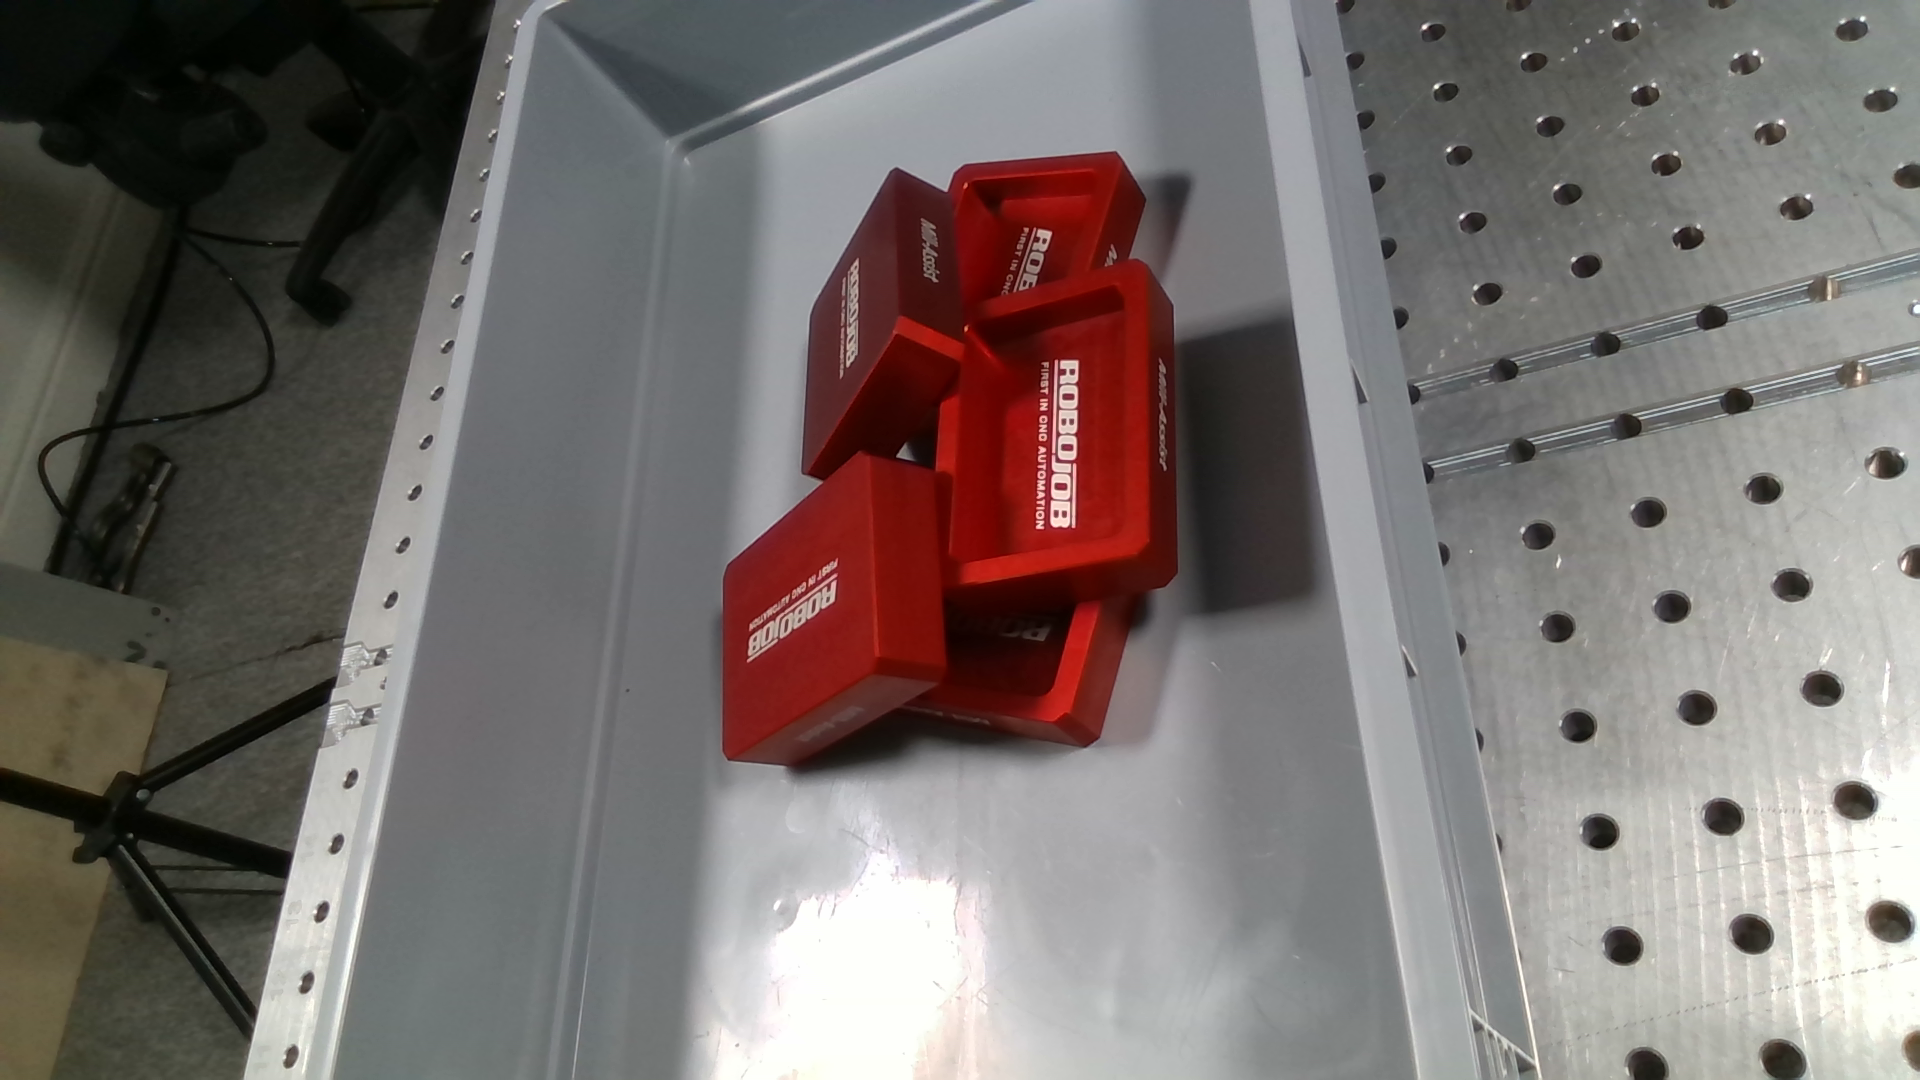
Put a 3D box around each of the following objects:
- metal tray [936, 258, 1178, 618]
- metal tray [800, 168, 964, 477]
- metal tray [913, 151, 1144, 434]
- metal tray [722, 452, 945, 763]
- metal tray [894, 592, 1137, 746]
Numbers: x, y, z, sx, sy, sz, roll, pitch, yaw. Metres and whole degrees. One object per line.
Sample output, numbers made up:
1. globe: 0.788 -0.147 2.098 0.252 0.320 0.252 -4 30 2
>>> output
1. metal tray: 0.037 -0.040 0.540 0.090 0.030 0.130 -11 60 27
2. metal tray: -0.036 -0.093 0.608 0.090 0.030 0.130 -53 26 35
3. metal tray: 0.022 -0.111 0.624 0.090 0.030 0.130 6 69 34
4. metal tray: -0.056 0.031 0.557 0.130 0.030 0.090 -34 52 49
5. metal tray: 0.004 0.028 0.563 0.130 0.030 0.090 5 69 34
